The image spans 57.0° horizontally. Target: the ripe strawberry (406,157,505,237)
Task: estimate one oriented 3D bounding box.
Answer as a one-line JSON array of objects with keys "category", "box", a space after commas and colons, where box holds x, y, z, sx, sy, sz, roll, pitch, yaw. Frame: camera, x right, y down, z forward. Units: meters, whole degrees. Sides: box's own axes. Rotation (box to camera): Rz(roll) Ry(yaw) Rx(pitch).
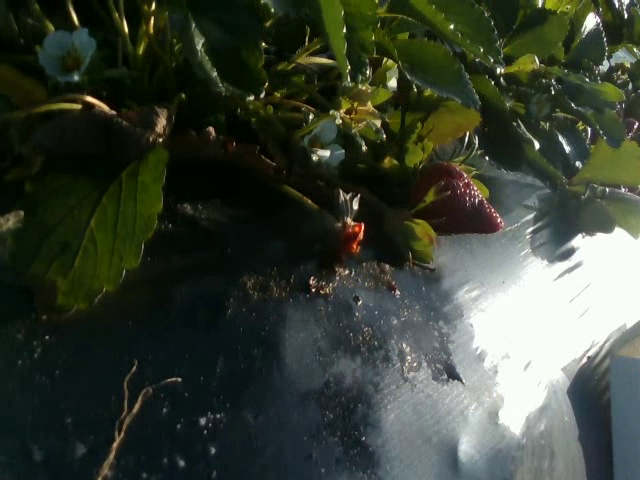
[{"category": "ripe strawberry", "box": [0.079, -0.018, 0.319, 0.051, 0.041, 0.052, 28, 52, 22]}]
